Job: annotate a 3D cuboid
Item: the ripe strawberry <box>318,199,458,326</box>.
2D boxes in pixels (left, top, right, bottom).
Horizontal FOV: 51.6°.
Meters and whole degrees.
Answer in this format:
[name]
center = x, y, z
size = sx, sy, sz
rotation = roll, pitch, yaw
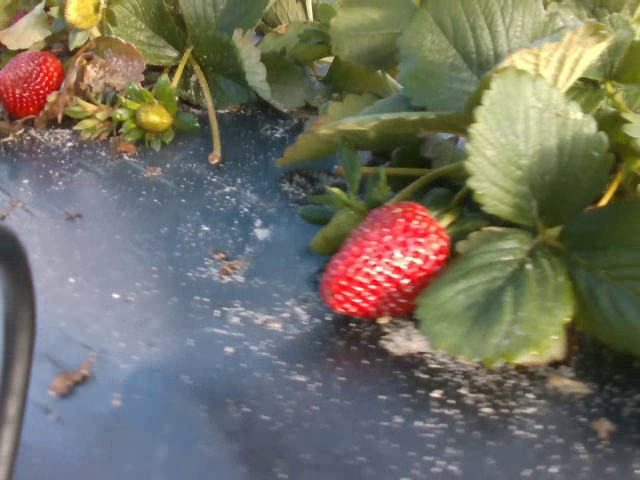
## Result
[ripe strawberry]
center = 0.011, 0.004, 0.138
size = 0.036, 0.021, 0.029
rotation = -31, 35, -35
